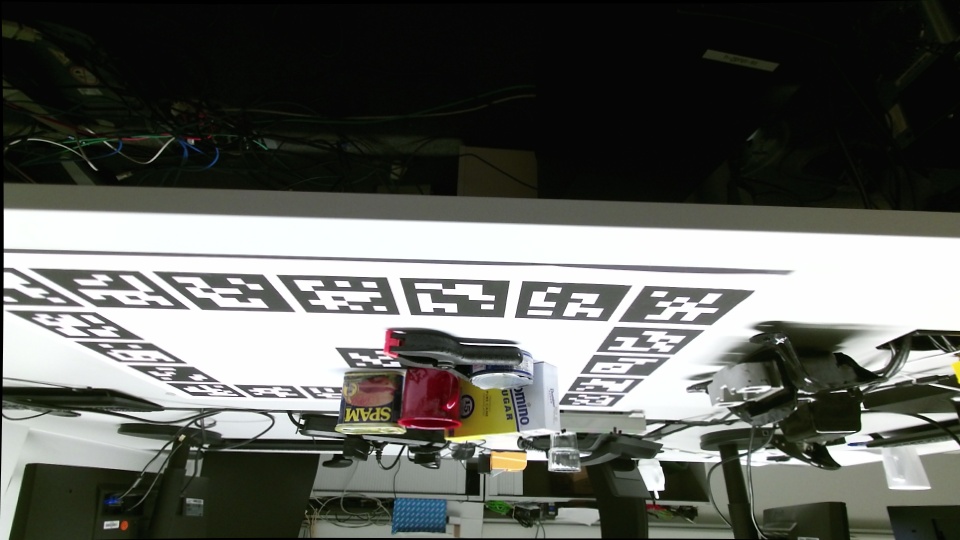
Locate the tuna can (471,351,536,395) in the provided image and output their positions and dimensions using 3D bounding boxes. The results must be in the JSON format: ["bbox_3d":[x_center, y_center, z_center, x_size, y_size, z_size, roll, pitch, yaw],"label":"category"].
[{"bbox_3d":[0.031,0.137,0.709,0.086,0.033,0.086,1,150,1],"label":"tuna can"}]

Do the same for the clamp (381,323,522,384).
[{"bbox_3d":[-0.046,0.104,0.663,0.166,0.036,0.122,24,149,-28],"label":"clamp"}]

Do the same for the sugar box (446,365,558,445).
[{"bbox_3d":[0.026,0.198,0.776,0.177,0.092,0.045,-17,148,34],"label":"sugar box"}]

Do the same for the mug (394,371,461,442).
[{"bbox_3d":[-0.067,0.191,0.761,0.094,0.081,0.117,15,148,-21],"label":"mug"}]

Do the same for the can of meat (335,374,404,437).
[{"bbox_3d":[-0.167,0.205,0.810,0.102,0.083,0.058,-1,153,9],"label":"can of meat"}]
